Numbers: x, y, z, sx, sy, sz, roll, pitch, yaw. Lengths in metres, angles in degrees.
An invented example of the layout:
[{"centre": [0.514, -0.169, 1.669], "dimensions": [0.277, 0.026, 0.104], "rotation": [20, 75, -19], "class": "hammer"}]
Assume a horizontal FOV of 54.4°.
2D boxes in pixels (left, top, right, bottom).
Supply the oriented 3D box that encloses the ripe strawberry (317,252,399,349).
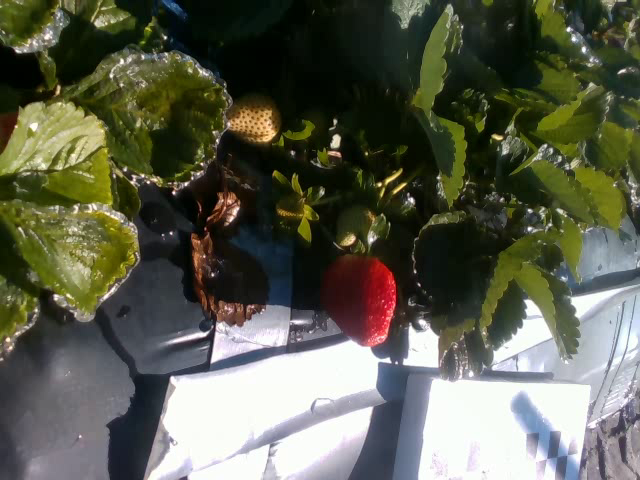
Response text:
[{"centre": [0.030, 0.045, 0.381], "dimensions": [0.057, 0.062, 0.065], "rotation": [-26, 37, 10], "class": "ripe strawberry"}]
